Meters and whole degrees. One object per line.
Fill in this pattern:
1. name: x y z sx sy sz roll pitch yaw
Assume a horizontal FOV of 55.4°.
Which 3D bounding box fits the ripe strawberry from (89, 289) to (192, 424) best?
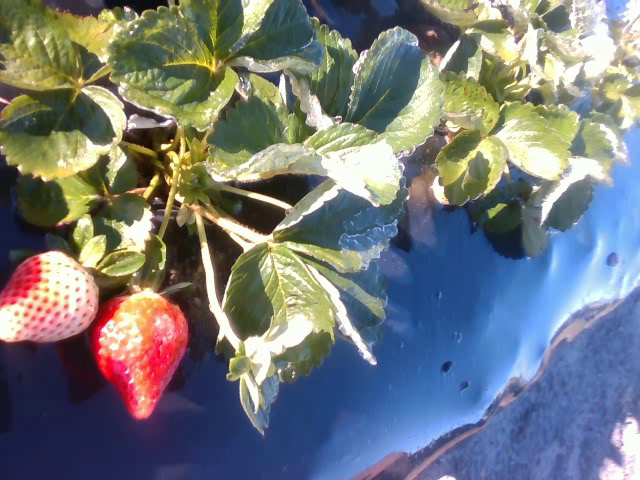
1. ripe strawberry: -0.064 0.045 0.227 0.040 0.038 0.056 -3 40 -16
